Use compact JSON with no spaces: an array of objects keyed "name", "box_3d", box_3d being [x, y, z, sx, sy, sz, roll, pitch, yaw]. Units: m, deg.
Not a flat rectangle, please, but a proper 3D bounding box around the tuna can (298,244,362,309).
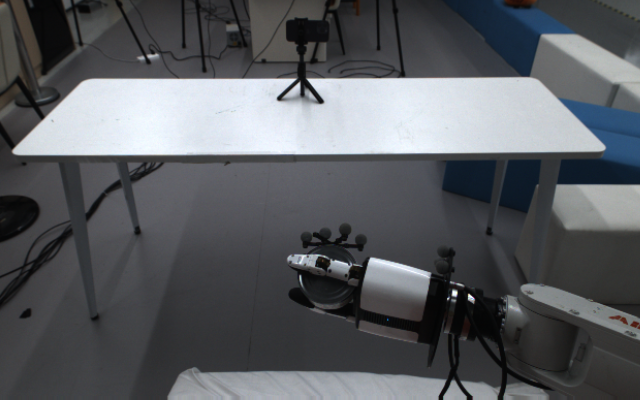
[{"name":"tuna can","box_3d":[0.015,0.112,0.670,0.085,0.034,0.085,-3,62,6]}]
